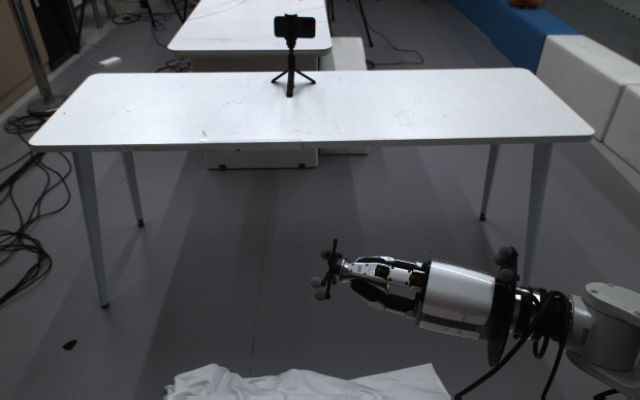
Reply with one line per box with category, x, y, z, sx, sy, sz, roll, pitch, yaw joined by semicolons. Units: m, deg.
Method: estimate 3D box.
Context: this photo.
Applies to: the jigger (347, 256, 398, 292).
jigger;0.072;0.102;0.684;0.071;0.043;0.043;7;35;16
